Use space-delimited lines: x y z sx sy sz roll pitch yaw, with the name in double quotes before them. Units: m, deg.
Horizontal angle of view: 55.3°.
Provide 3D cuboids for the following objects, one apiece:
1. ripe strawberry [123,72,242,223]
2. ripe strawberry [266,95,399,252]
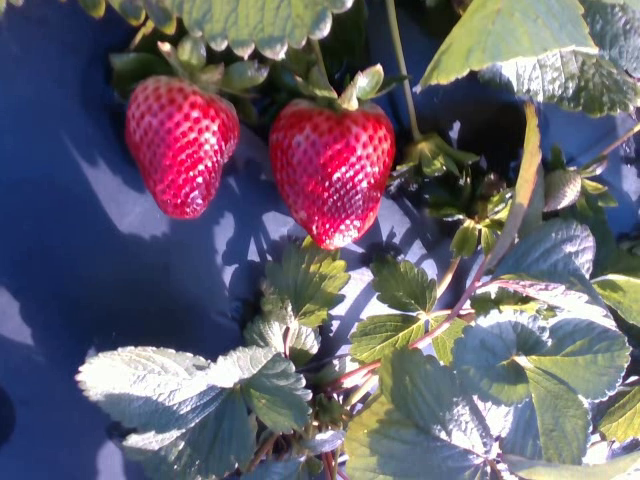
"ripe strawberry" -0.045 -0.027 0.194 0.043 0.052 0.036 -6 5 12
"ripe strawberry" 0.006 -0.021 0.215 0.052 0.058 0.046 -1 3 4
